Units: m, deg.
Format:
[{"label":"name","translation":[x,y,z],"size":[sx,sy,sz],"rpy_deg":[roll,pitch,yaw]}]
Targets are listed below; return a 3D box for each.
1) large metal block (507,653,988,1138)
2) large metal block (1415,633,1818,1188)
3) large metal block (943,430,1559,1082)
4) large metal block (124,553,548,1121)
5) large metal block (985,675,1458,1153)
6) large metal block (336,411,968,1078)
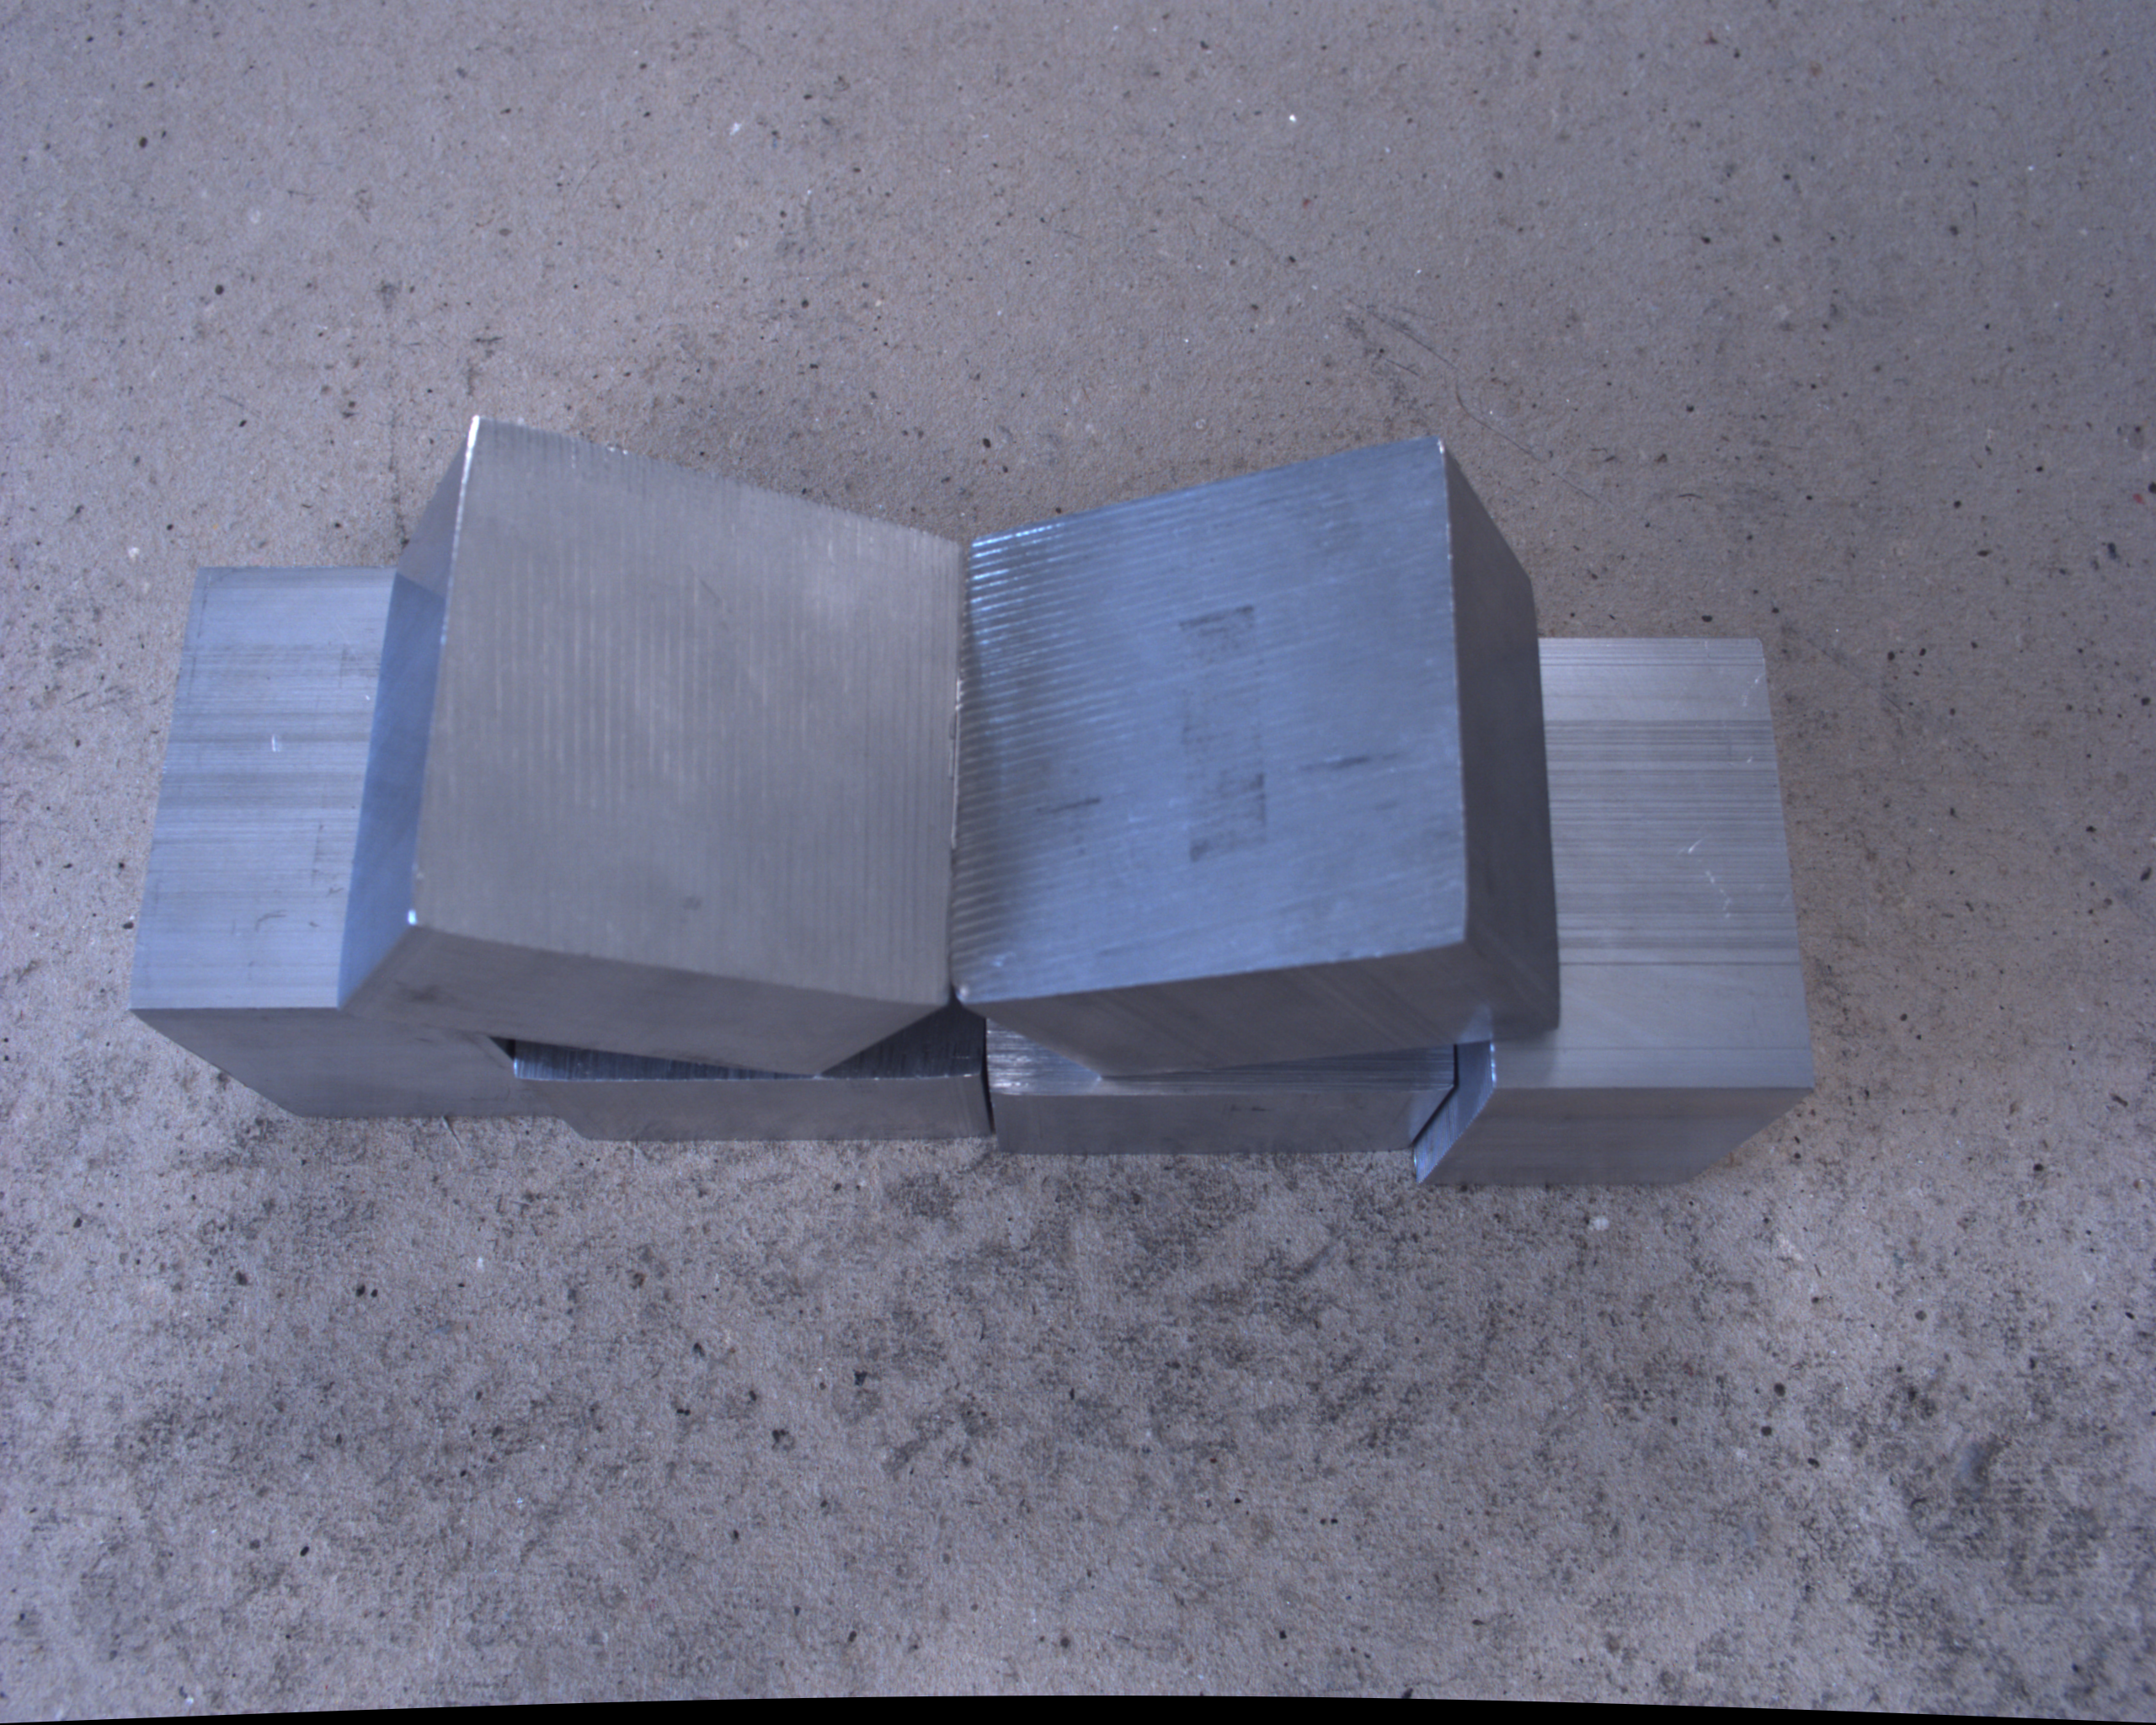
[{"label":"large metal block","translation":[-0.057,0.007,0.392],"size":[0.081,0.050,0.080],"rpy_deg":[0,70,0]},{"label":"large metal block","translation":[0.090,0.012,0.378],"size":[0.050,0.080,0.080],"rpy_deg":[0,70,-1]},{"label":"large metal block","translation":[0.028,-0.013,0.331],"size":[0.080,0.050,0.080],"rpy_deg":[-9,68,25]},{"label":"large metal block","translation":[-0.124,-0.002,0.379],"size":[0.050,0.080,0.080],"rpy_deg":[-1,69,0]},{"label":"large metal block","translation":[0.025,0.010,0.391],"size":[0.081,0.050,0.080],"rpy_deg":[0,70,0]},{"label":"large metal block","translation":[-0.066,-0.015,0.331],"size":[0.081,0.050,0.080],"rpy_deg":[11,67,-27]}]
